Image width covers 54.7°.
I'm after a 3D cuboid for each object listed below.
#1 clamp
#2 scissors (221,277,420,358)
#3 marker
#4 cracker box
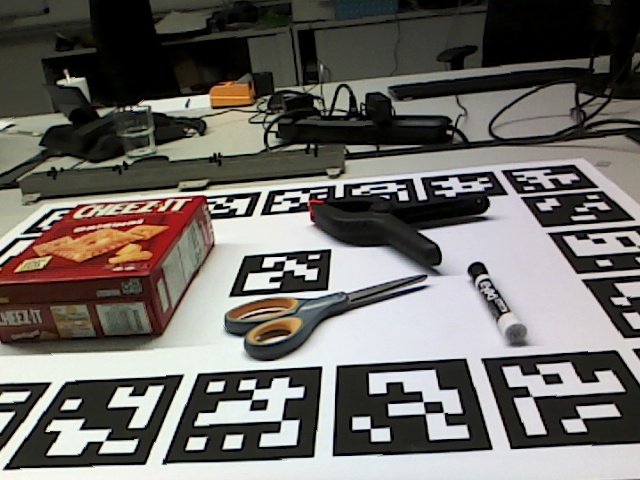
[{"bbox_3d":[0.066,-0.014,0.747,0.204,0.036,0.165,10,27,32],"label":"clamp"},{"bbox_3d":[0.007,0.060,0.577,0.202,0.016,0.088,-14,23,-23],"label":"scissors"},{"bbox_3d":[0.148,0.051,0.559,0.019,0.019,0.121,-6,23,2],"label":"marker"},{"bbox_3d":[-0.223,0.022,0.664,0.164,0.072,0.214,-4,23,6],"label":"cracker box"}]
